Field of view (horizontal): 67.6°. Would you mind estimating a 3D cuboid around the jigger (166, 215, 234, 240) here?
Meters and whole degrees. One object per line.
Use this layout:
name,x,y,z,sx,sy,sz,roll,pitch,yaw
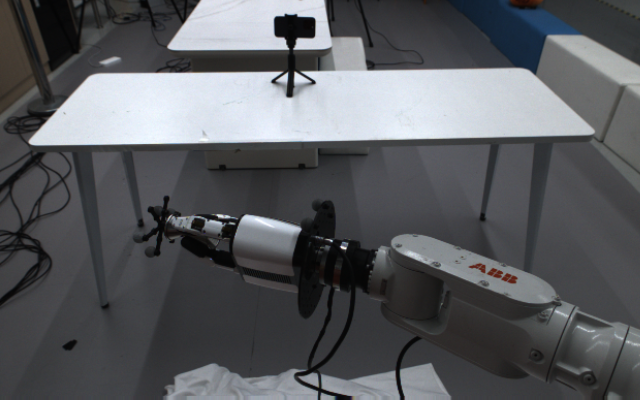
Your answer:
jigger,-0.175,0.039,0.690,0.071,0.043,0.043,8,35,14
